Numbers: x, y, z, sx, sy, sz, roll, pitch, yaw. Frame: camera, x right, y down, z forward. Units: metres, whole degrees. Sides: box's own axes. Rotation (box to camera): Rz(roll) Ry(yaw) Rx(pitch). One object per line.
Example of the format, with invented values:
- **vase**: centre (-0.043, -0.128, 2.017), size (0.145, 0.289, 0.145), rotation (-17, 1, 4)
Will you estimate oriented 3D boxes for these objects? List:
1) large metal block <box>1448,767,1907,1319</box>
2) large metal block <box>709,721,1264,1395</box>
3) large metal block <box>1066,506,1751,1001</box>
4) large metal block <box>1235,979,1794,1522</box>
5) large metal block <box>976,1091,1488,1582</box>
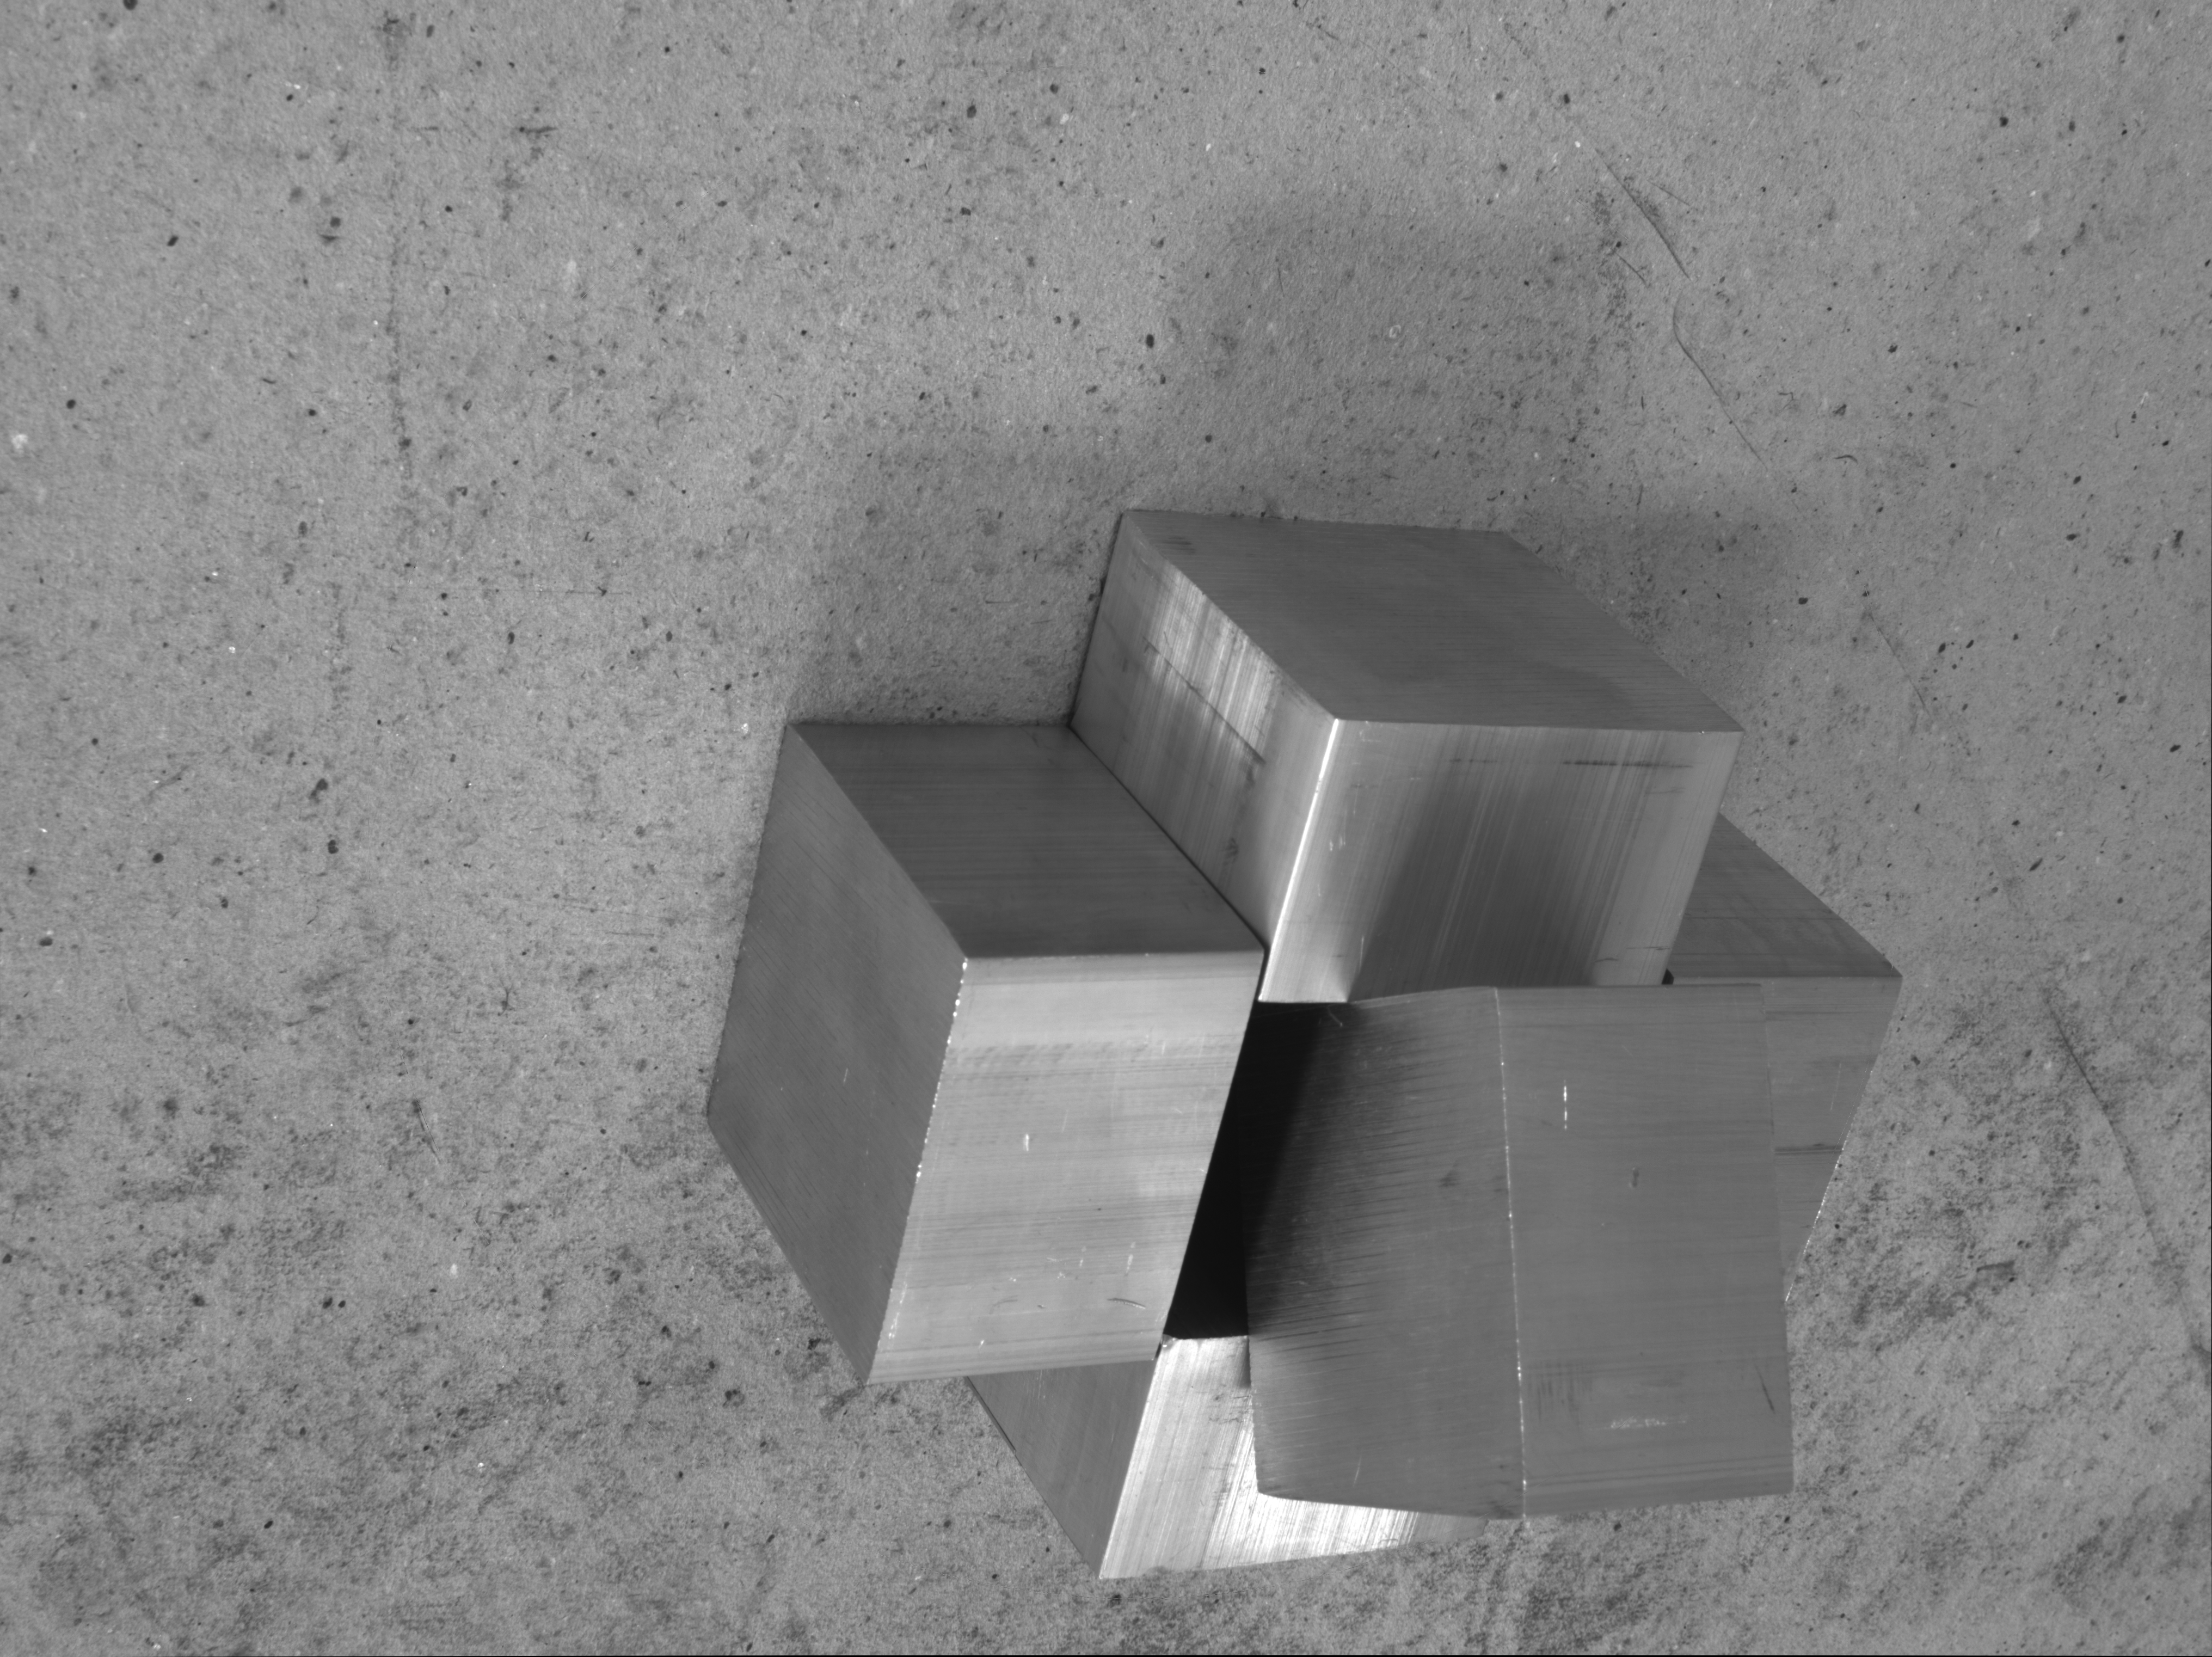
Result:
- **large metal block**: centre (0.092, 0.042, 0.677), size (0.050, 0.080, 0.080), rotation (1, 118, -29)
- **large metal block**: centre (-0.023, 0.036, 0.610), size (0.050, 0.080, 0.080), rotation (0, 118, -28)
- **large metal block**: centre (0.048, -0.013, 0.620), size (0.080, 0.080, 0.050), rotation (1, 118, -28)
- **large metal block**: centre (0.064, 0.067, 0.593), size (0.050, 0.080, 0.080), rotation (1, 84, -28)
- **large metal block**: centre (0.023, 0.088, 0.668), size (0.080, 0.080, 0.050), rotation (0, 118, -28)
